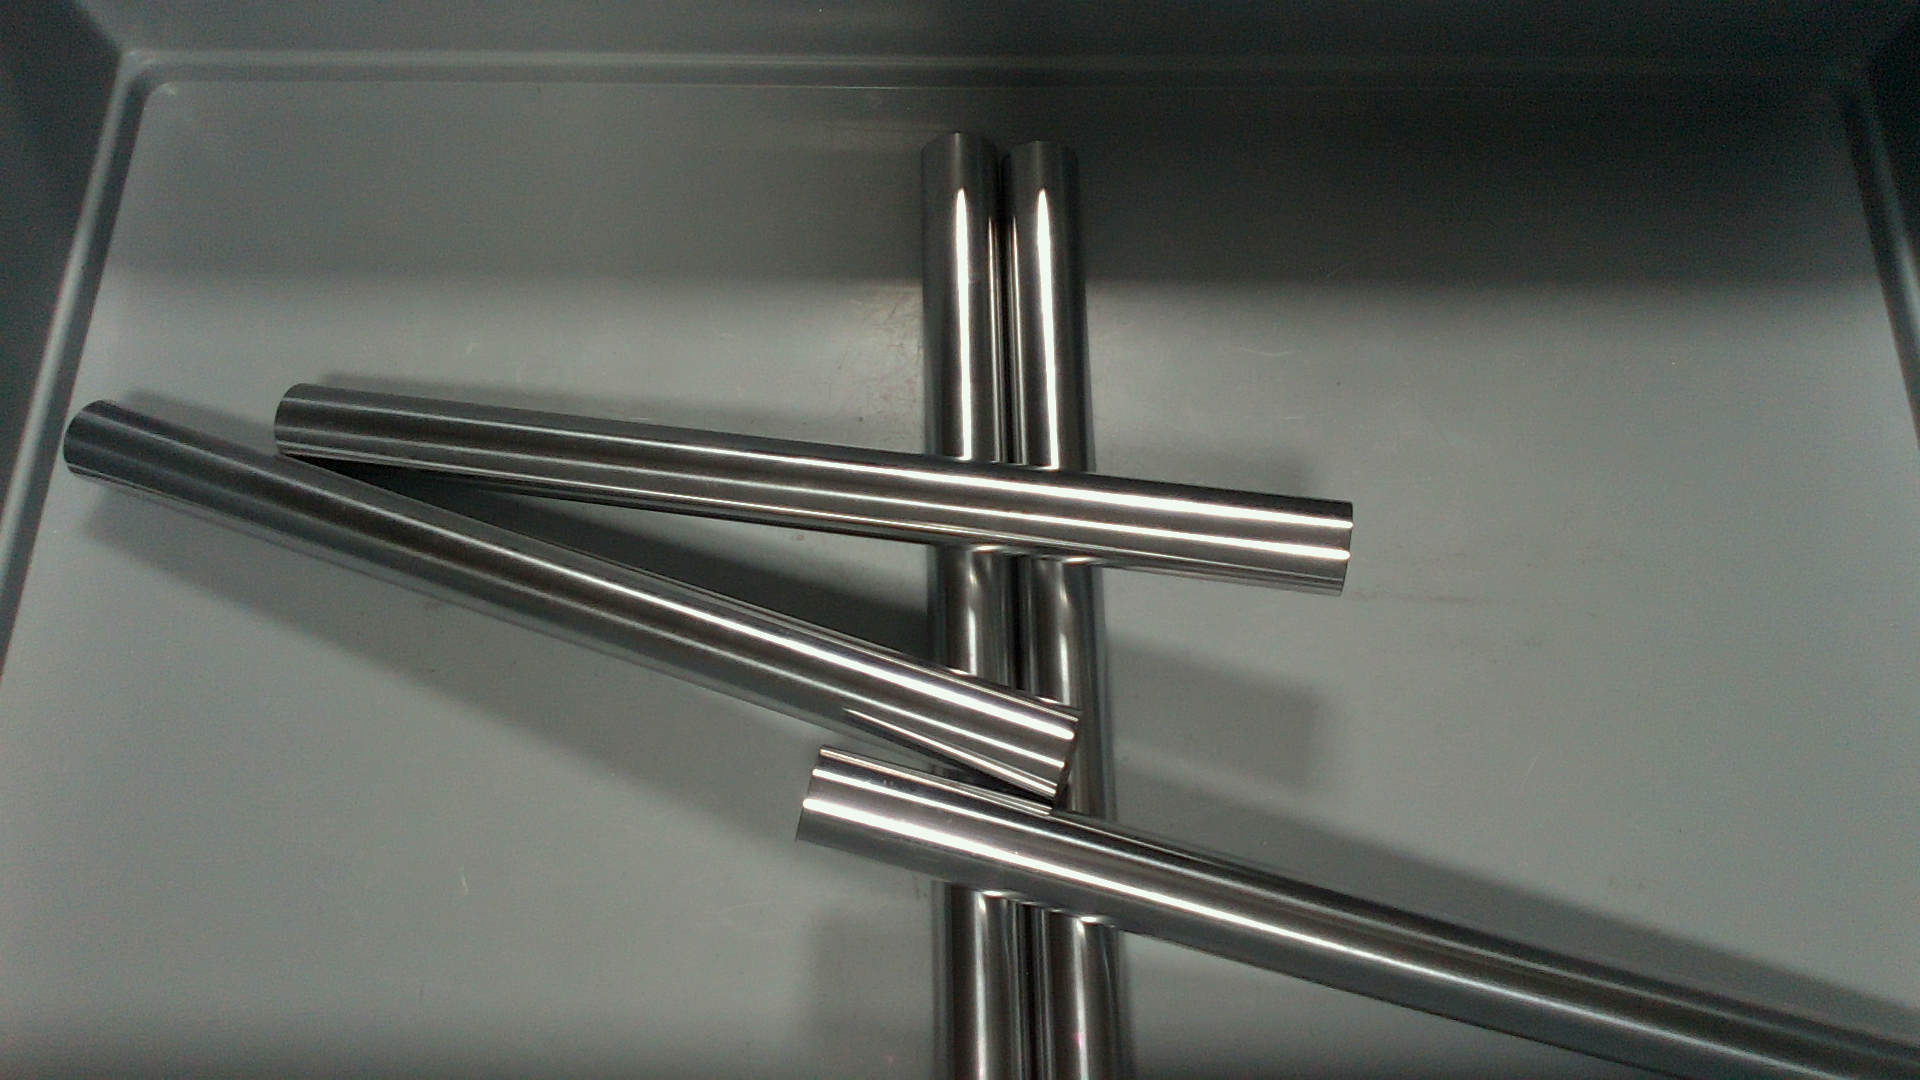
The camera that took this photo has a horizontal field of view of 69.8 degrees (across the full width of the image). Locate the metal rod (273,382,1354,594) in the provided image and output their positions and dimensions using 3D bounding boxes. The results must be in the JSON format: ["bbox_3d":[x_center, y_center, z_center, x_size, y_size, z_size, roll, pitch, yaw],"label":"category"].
[{"bbox_3d":[-0.047,-0.016,0.379,0.300,0.025,0.025,7,70,10],"label":"metal rod"}]

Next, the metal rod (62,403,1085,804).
[{"bbox_3d":[-0.113,0.013,0.375,0.299,0.025,0.025,16,71,12],"label":"metal rod"}]

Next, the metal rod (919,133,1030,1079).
[{"bbox_3d":[0.003,0.019,0.385,0.025,0.025,0.300,-1,70,0],"label":"metal rod"}]

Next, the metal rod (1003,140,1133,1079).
[{"bbox_3d":[0.028,0.022,0.384,0.025,0.025,0.300,-1,70,0],"label":"metal rod"}]

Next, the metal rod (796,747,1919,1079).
[{"bbox_3d":[0.108,0.101,0.339,0.300,0.025,0.025,15,71,-1],"label":"metal rod"}]
